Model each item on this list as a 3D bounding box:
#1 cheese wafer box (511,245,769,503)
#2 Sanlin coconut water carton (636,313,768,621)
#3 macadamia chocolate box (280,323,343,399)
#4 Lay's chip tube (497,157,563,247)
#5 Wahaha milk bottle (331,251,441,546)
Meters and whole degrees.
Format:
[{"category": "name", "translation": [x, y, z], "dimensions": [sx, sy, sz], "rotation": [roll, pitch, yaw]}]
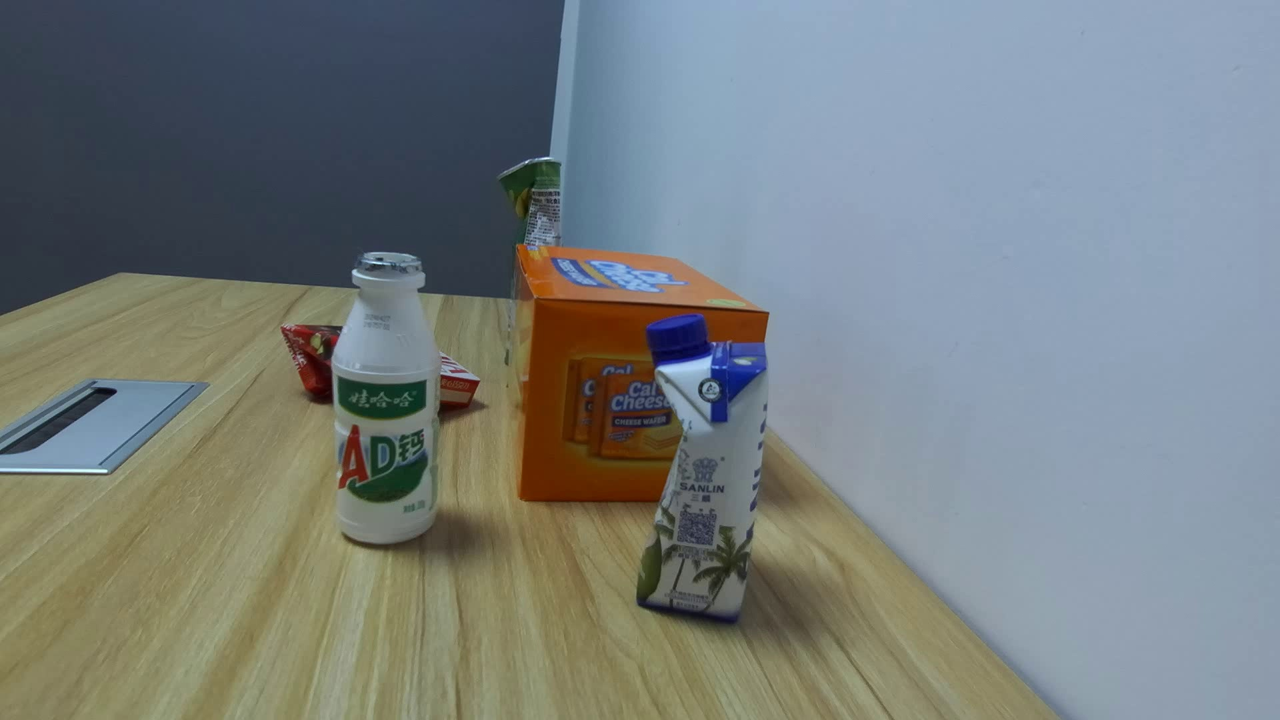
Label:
[{"category": "cheese wafer box", "translation": [-0.016, 0.000, 0.526], "dimensions": [0.148, 0.129, 0.221], "rotation": [2, 16, -12]}, {"category": "Sanlin coconut water carton", "translation": [0.031, 0.050, 0.345], "dimensions": [0.057, 0.142, 0.078], "rotation": [3, 14, 8]}, {"category": "macadamia chocolate box", "translation": [-0.202, 0.005, 0.573], "dimensions": [0.126, 0.056, 0.112], "rotation": [16, 20, 39]}, {"category": "Lay's chip tube", "translation": [-0.100, -0.089, 0.679], "dimensions": [0.071, 0.199, 0.079], "rotation": [0, 11, 5]}, {"category": "Wahaha milk bottle", "translation": [-0.131, 0.025, 0.365], "dimensions": [0.053, 0.136, 0.053], "rotation": [6, 17, -1]}]
